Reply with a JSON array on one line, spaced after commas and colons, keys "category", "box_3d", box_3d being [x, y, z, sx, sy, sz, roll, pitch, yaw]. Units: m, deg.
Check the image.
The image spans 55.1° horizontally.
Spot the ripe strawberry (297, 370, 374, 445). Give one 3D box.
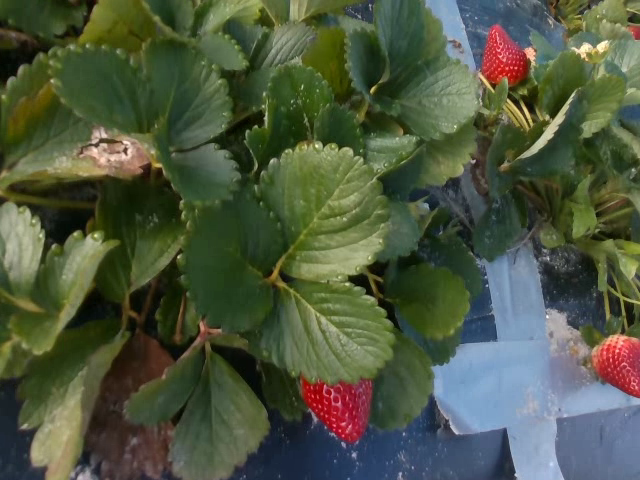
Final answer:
[{"category": "ripe strawberry", "box_3d": [0.004, 0.035, 0.132, 0.018, 0.023, 0.021, -6, -29, -15]}]

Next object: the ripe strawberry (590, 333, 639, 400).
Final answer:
[{"category": "ripe strawberry", "box_3d": [0.103, 0.043, 0.198, 0.023, 0.021, 0.026, 10, 40, -6]}]
